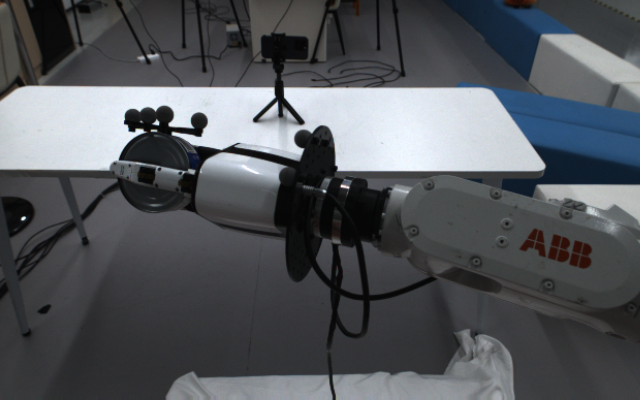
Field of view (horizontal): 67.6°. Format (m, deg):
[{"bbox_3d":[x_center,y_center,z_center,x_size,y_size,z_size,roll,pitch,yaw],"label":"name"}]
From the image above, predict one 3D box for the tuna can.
[{"bbox_3d":[-0.170,-0.029,0.522,0.085,0.085,0.034,11,3,13],"label":"tuna can"}]
